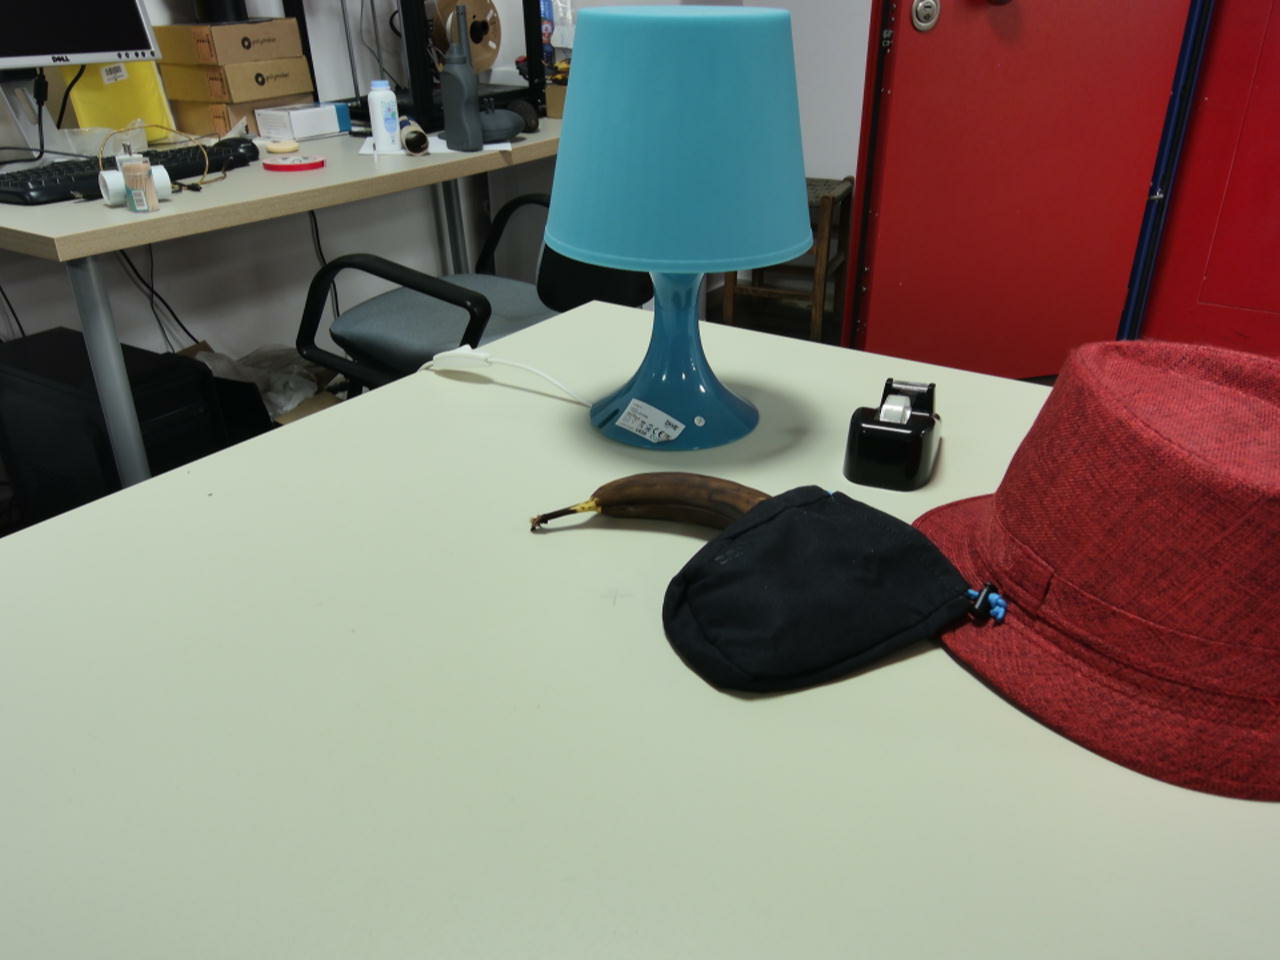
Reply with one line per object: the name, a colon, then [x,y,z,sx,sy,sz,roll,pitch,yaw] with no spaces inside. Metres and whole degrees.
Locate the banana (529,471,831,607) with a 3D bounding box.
banana: [0.034,0.024,0.593,0.188,0.034,0.091,17,31,33]
